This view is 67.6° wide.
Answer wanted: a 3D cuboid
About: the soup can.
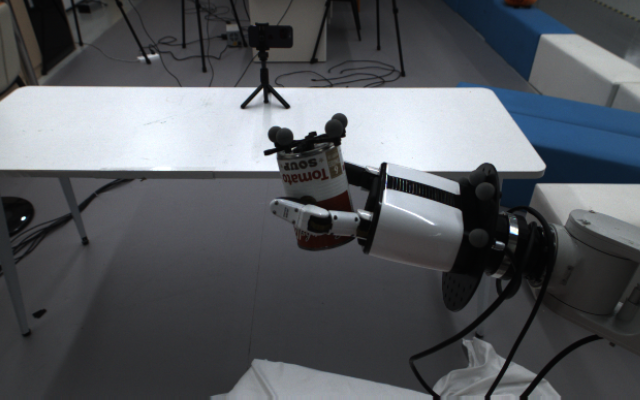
[{"bbox_3d":[0.000,-0.007,0.507,0.067,0.101,0.067,-12,17,4],"label":"soup can"}]
